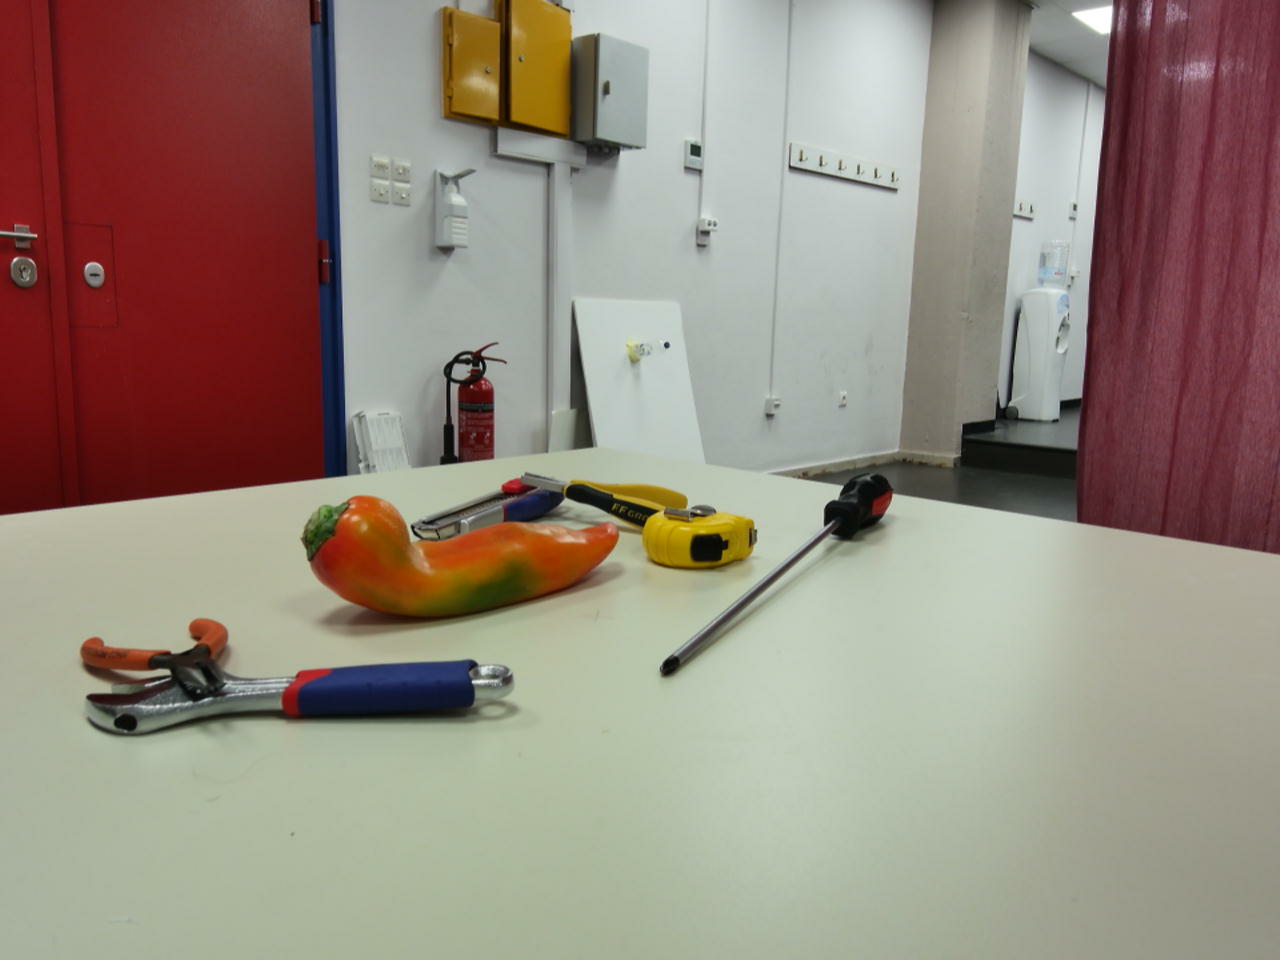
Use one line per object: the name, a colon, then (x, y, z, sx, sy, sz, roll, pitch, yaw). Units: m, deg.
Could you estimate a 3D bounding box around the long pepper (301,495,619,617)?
long pepper: (-0.086, 0.033, 0.546, 0.199, 0.065, 0.066, -6, 10, -42)
